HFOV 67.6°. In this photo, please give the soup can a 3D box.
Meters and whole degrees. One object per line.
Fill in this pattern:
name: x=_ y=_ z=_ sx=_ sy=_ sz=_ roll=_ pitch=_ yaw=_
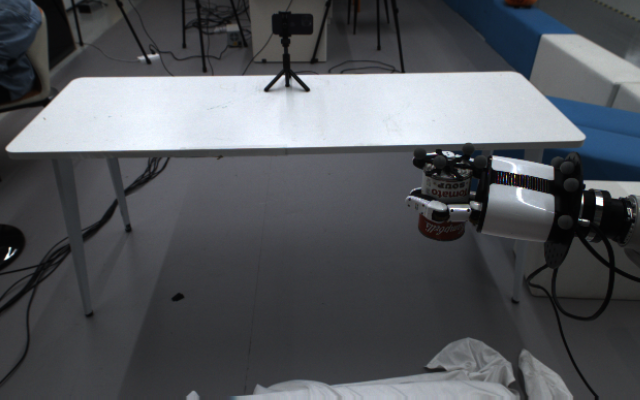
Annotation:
soup can: x=0.178 y=-0.003 z=0.686 sx=0.067 sy=0.101 sz=0.067 roll=-2 pitch=32 yaw=1
